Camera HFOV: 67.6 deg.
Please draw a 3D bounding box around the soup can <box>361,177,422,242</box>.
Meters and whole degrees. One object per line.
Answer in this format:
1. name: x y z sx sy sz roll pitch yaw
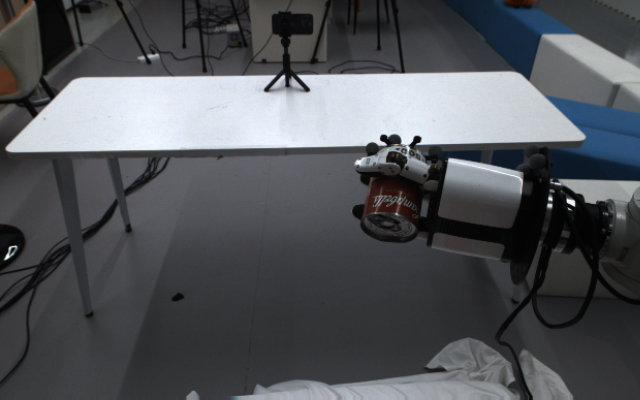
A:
1. soup can: 0.092 -0.009 0.581 0.067 0.067 0.101 9 58 10
